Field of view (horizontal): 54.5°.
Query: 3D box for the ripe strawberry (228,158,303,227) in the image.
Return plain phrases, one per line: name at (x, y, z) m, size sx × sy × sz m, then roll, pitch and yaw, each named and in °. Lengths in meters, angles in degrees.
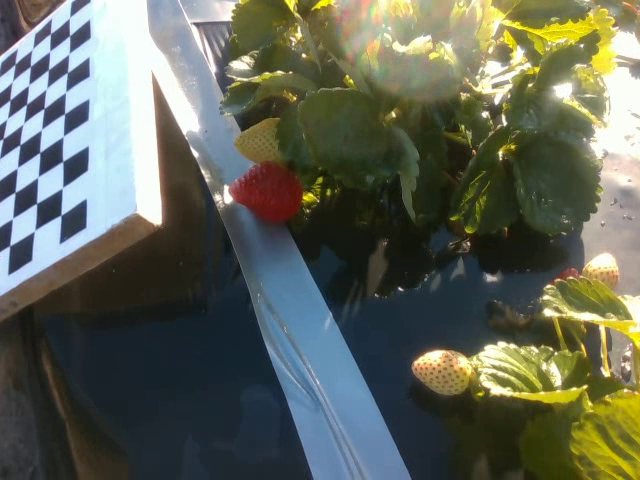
ripe strawberry at (-0.036, -0.032, 0.389) m, size 0.045 × 0.049 × 0.063 m, roll -7°, pitch 0°, yaw 35°
